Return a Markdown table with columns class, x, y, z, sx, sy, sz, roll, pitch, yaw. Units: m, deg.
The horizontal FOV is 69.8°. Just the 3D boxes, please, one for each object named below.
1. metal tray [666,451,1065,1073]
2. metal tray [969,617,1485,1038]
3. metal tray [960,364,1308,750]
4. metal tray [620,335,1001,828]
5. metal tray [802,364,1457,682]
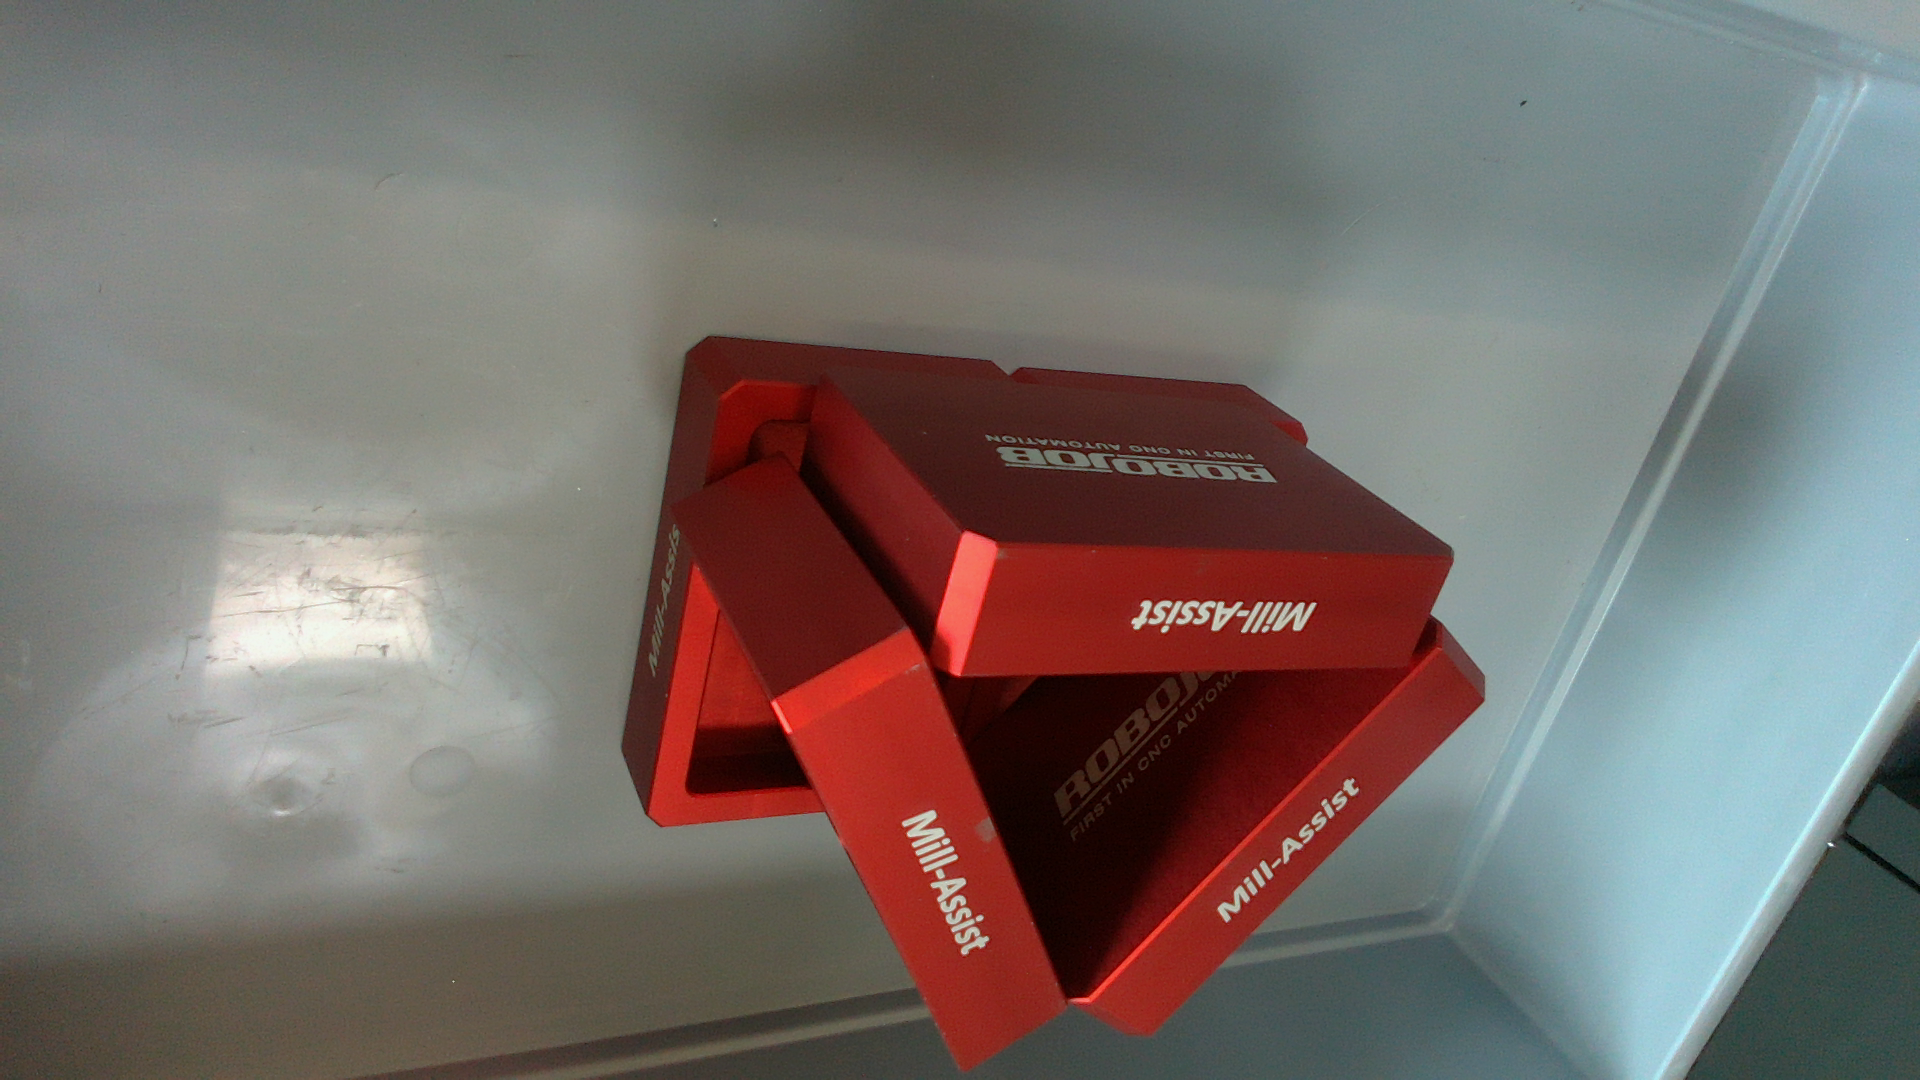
| class | x | y | z | sx | sy | sz | roll | pitch | yaw |
| --- | --- | --- | --- | --- | --- | --- | --- | --- | --- |
| metal tray | -0.021 | 0.054 | 0.328 | 0.030 | 0.090 | 0.130 | -27 | 128 | -10 |
| metal tray | 0.063 | 0.056 | 0.374 | 0.130 | 0.090 | 0.030 | -46 | 129 | 4 |
| metal tray | 0.043 | 0.016 | 0.418 | 0.090 | 0.030 | 0.130 | 1 | 117 | -29 |
| metal tray | -0.038 | 0.014 | 0.374 | 0.090 | 0.030 | 0.130 | 0 | 117 | -28 |
| metal tray | 0.038 | -0.005 | 0.323 | 0.130 | 0.090 | 0.030 | 2 | 118 | -29 |
